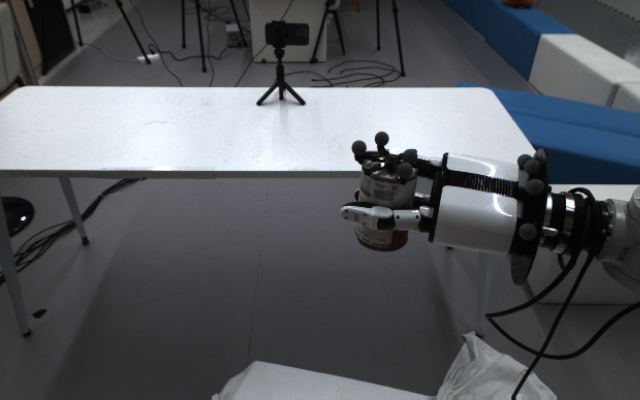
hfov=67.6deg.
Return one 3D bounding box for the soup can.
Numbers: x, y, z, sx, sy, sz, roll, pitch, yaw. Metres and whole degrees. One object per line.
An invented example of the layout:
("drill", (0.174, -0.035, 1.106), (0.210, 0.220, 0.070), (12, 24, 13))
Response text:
("soup can", (0.081, 0.003, 0.592), (0.067, 0.101, 0.067), (2, 32, -1))
